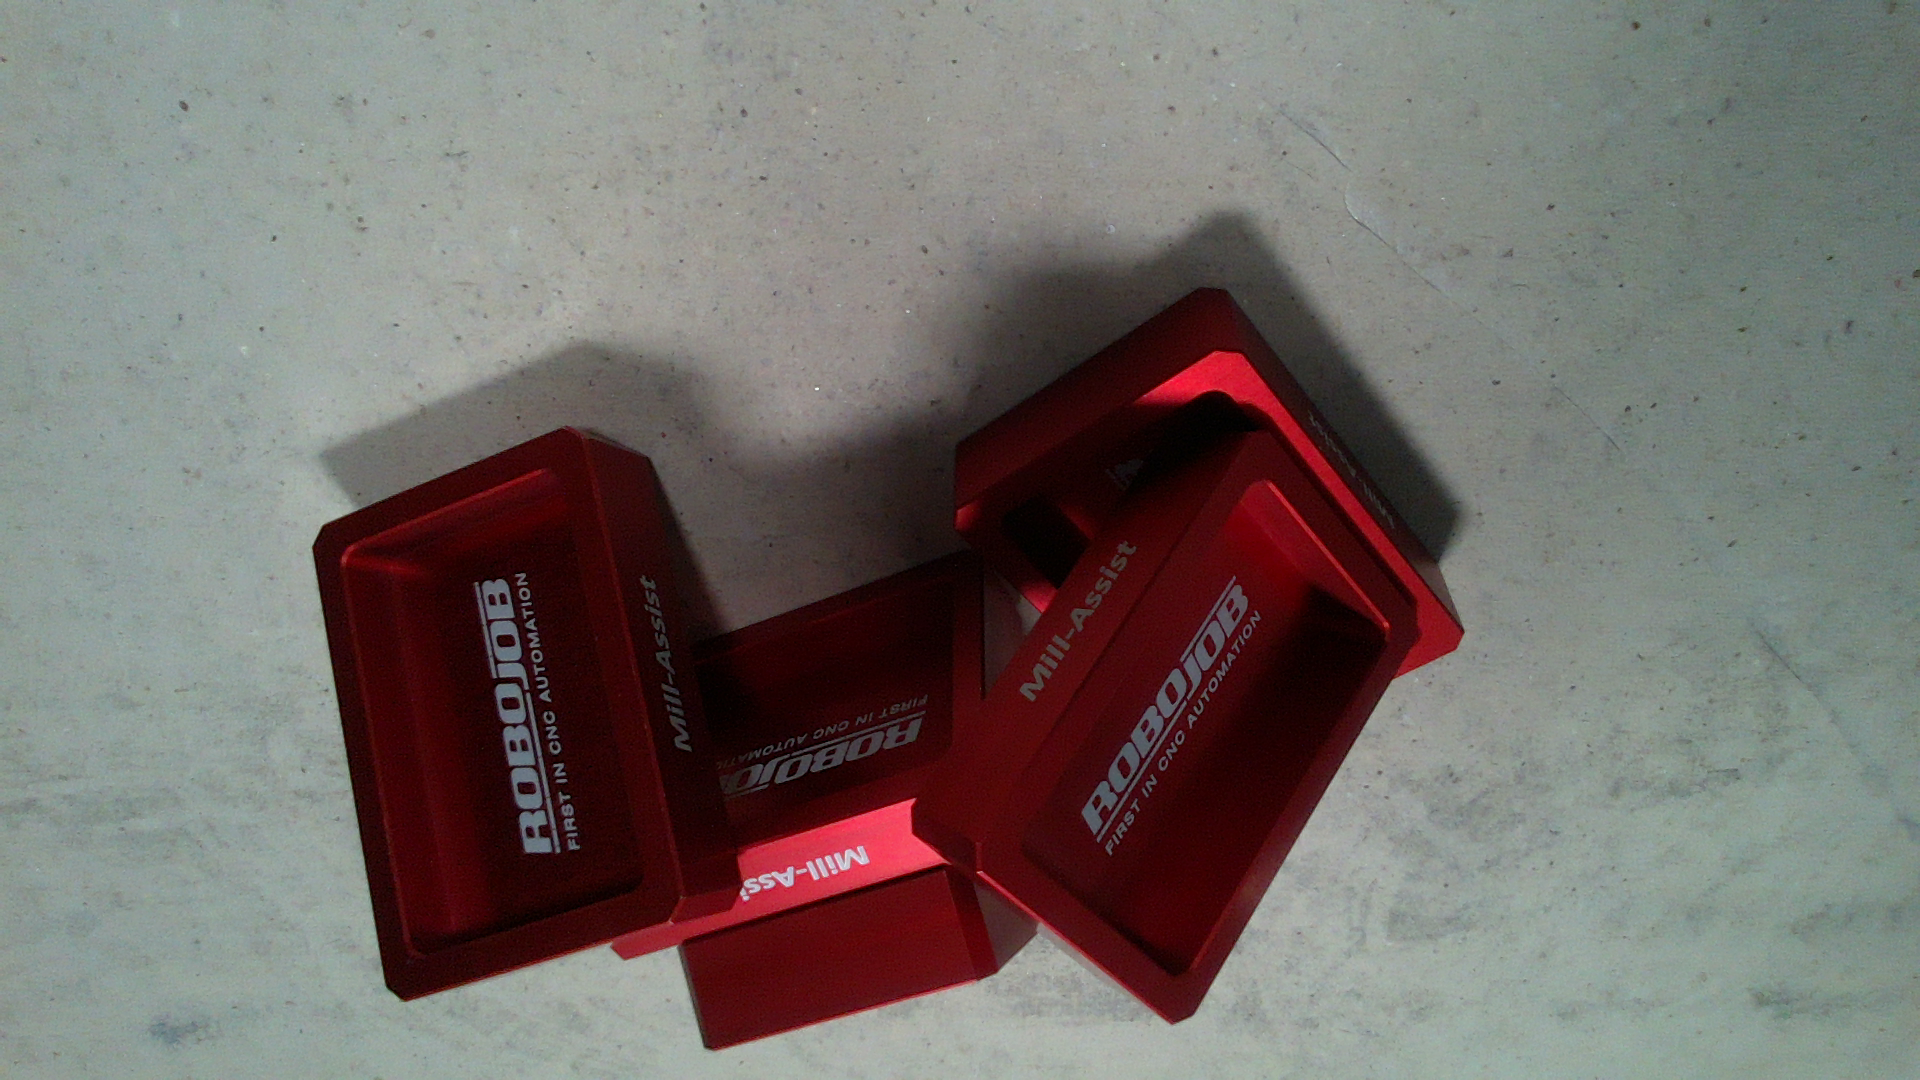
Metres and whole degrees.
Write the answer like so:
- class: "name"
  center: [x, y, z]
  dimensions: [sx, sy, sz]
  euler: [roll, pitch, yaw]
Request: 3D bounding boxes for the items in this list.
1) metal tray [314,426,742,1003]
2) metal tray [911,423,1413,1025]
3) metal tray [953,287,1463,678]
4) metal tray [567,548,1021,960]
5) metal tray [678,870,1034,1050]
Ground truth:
- class: "metal tray"
  center: [-0.117, 0.046, 0.367]
  dimensions: [0.090, 0.130, 0.030]
  euler: [-19, 166, 15]
- class: "metal tray"
  center: [0.057, 0.046, 0.357]
  dimensions: [0.090, 0.030, 0.130]
  euler: [44, 73, -31]
- class: "metal tray"
  center: [0.071, 0.002, 0.390]
  dimensions: [0.090, 0.030, 0.130]
  euler: [-31, 124, 24]
- class: "metal tray"
  center: [-0.046, 0.061, 0.399]
  dimensions: [0.130, 0.090, 0.030]
  euler: [-20, 127, 16]
- class: "metal tray"
  center: [-0.017, 0.116, 0.432]
  dimensions: [0.090, 0.030, 0.130]
  euler: [-19, 172, 16]
